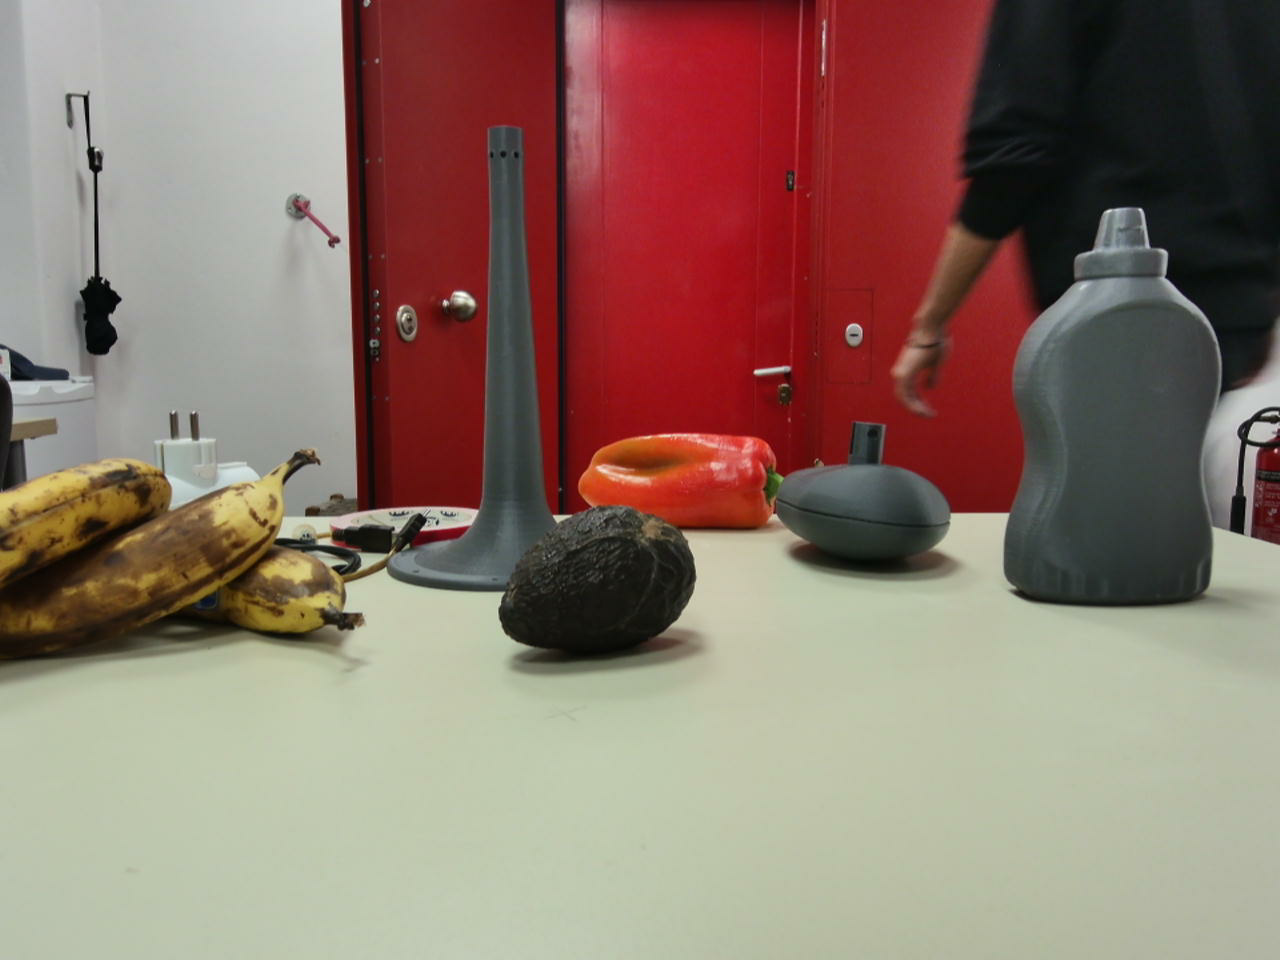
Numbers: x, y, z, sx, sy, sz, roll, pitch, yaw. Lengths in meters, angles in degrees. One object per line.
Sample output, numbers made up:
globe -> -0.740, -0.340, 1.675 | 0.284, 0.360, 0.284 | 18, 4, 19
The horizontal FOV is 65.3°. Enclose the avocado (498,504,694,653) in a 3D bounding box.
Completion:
avocado -> -0.019, 0.042, 0.432 | 0.092, 0.062, 0.062 | -2, 5, -24
